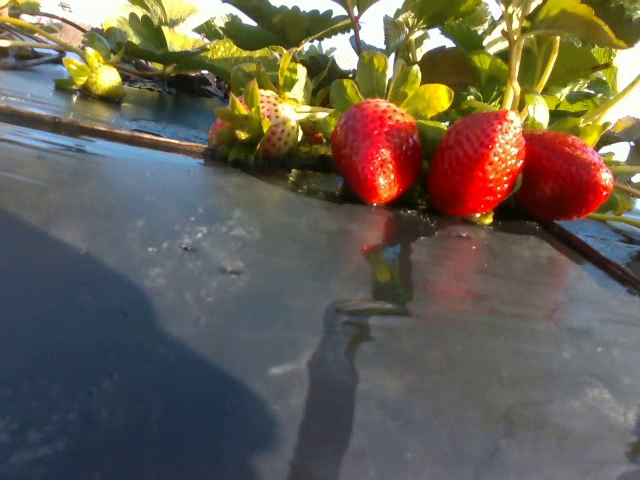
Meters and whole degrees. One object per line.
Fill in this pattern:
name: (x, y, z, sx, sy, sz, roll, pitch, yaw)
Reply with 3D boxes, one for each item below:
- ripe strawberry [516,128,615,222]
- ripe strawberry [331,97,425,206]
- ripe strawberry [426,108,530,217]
ripe strawberry: (0.073, -0.018, 0.176, 0.035, 0.034, 0.041, 8, 1, -5)
ripe strawberry: (0.017, -0.027, 0.175, 0.031, 0.023, 0.046, 11, 37, -3)
ripe strawberry: (0.046, -0.026, 0.172, 0.030, 0.037, 0.039, 19, -13, 4)
